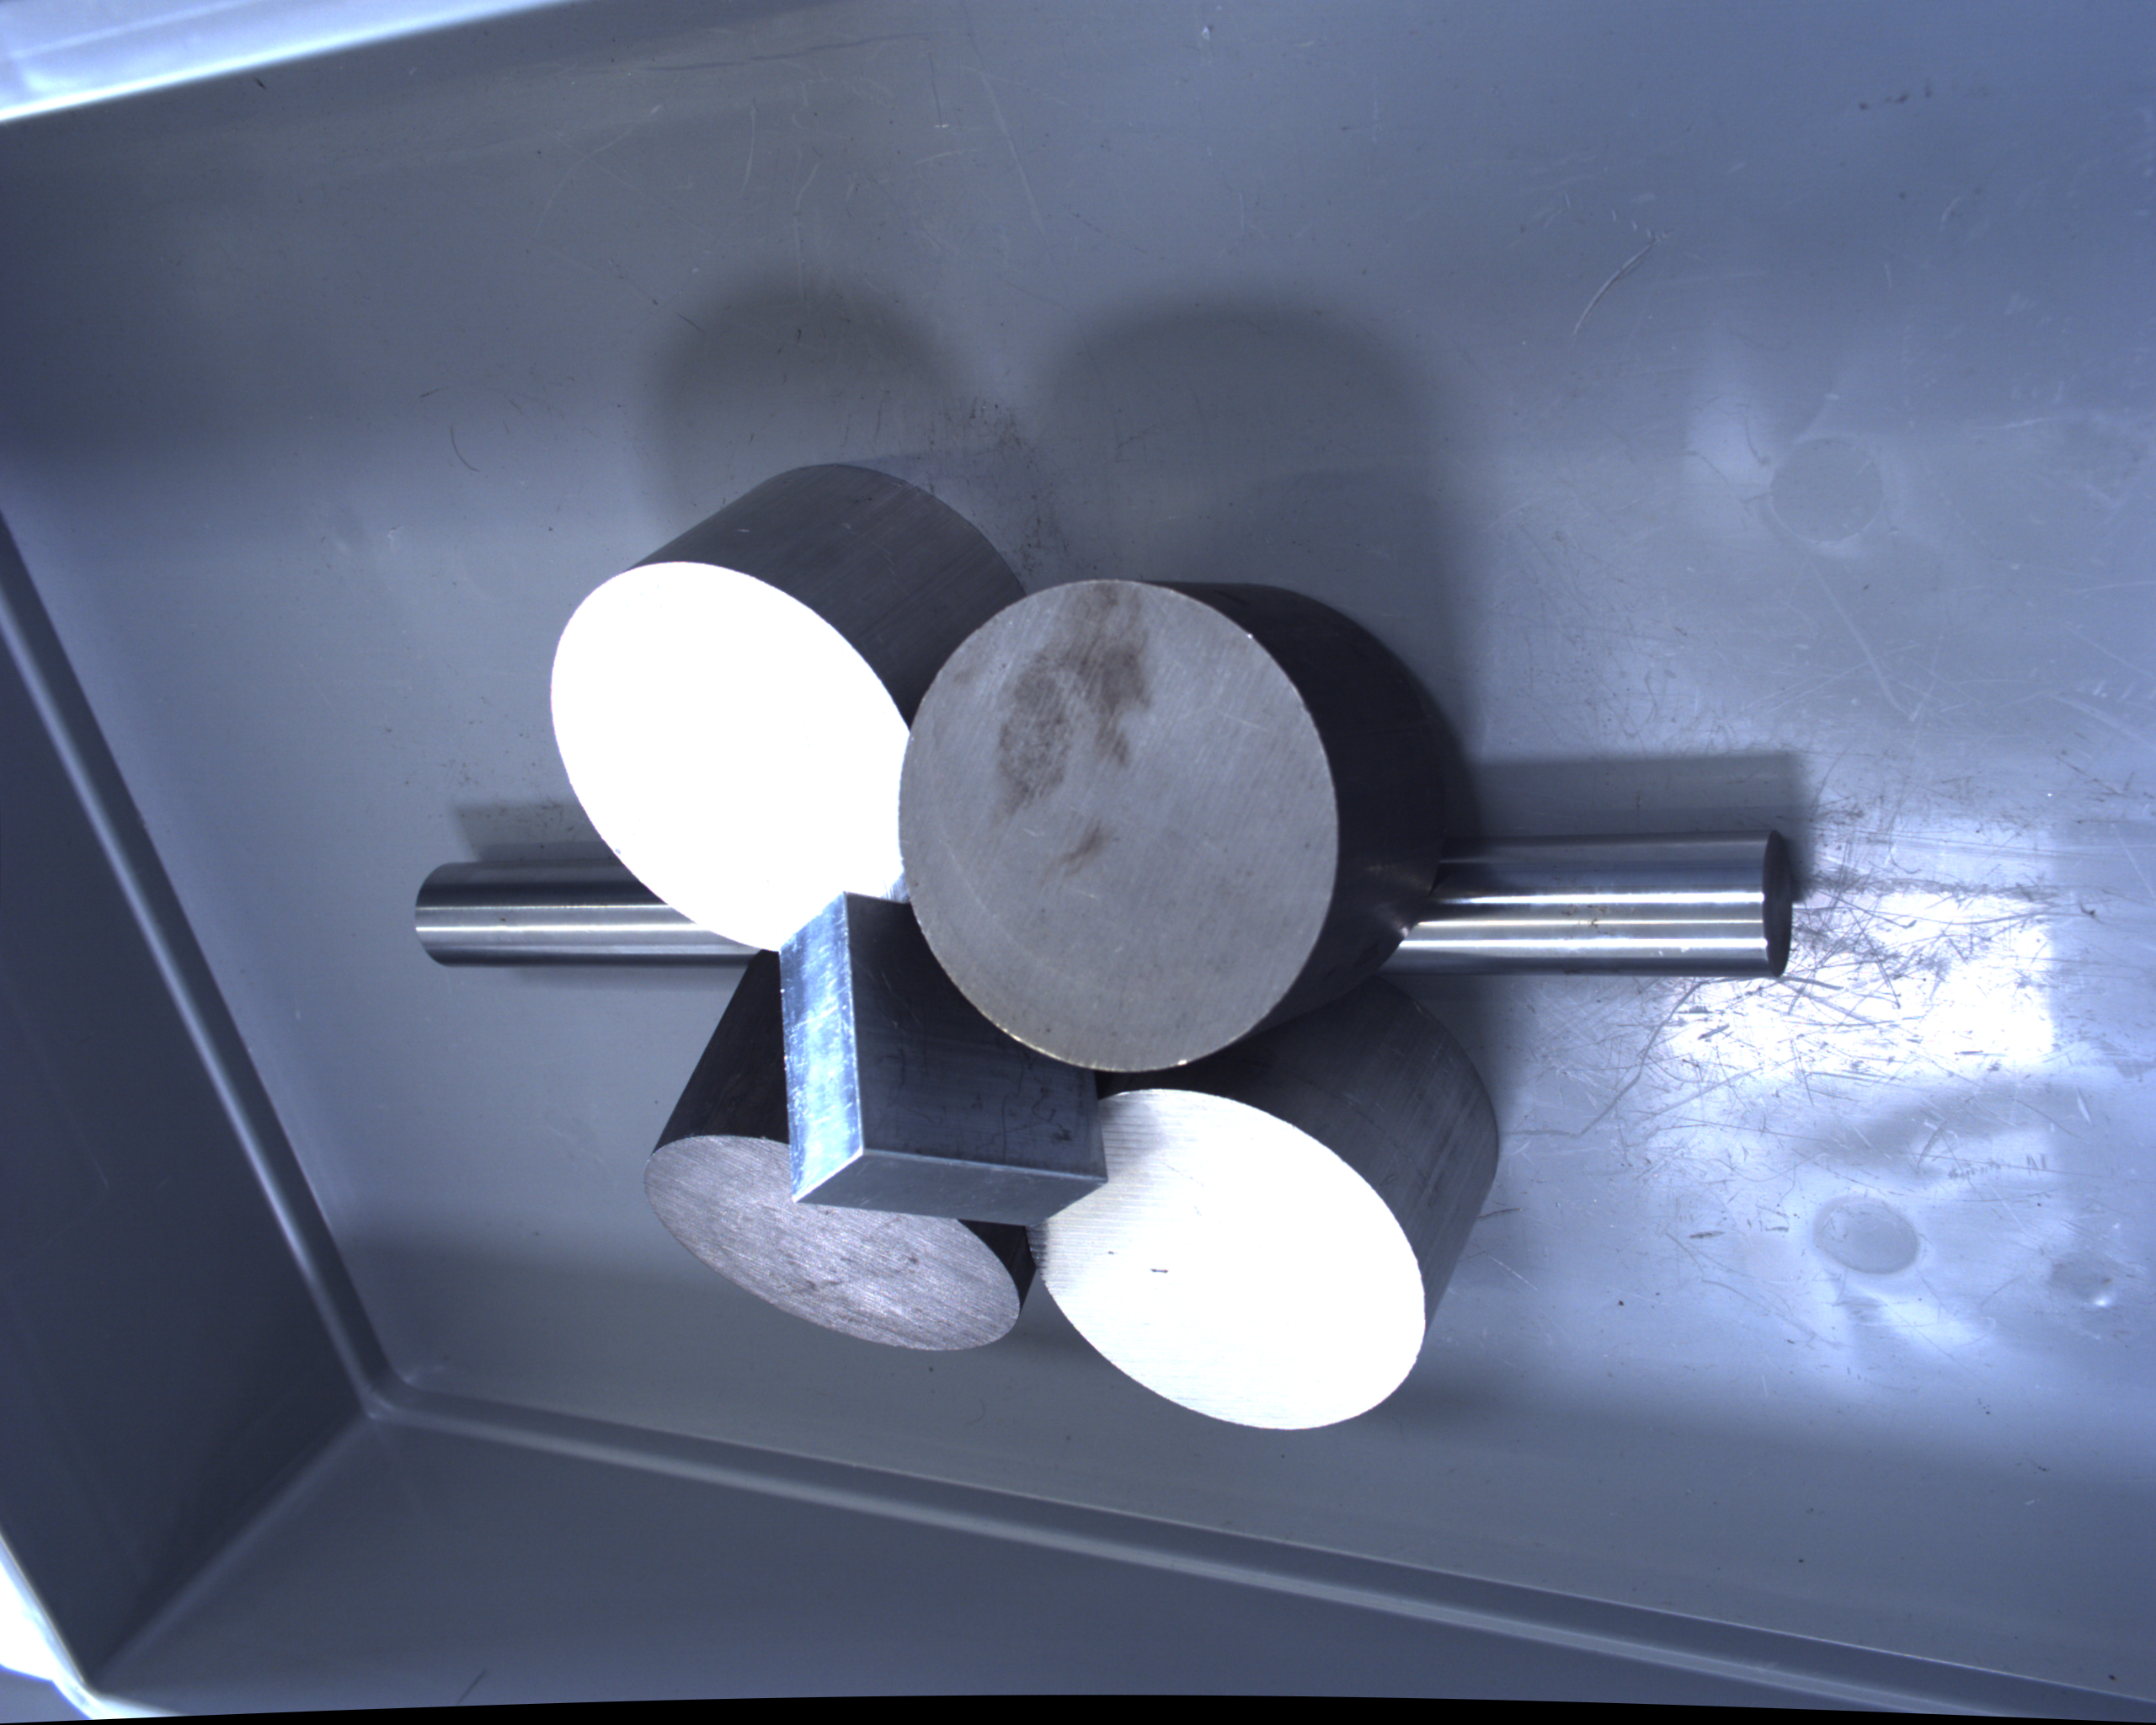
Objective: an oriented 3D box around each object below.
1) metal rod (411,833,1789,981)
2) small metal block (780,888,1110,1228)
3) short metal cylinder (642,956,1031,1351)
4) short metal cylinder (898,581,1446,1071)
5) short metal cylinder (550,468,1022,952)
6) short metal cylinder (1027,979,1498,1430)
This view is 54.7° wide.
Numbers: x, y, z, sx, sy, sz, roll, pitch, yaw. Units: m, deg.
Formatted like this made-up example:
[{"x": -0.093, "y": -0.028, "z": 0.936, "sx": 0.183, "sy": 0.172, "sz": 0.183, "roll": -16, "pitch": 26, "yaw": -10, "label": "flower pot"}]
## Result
[{"x": -0.015, "y": 0.010, "z": 0.420, "sx": 0.300, "sy": 0.025, "sz": 0.025, "roll": -1, "pitch": 118, "yaw": 28, "label": "metal rod"}, {"x": -0.025, "y": 0.036, "z": 0.380, "sx": 0.050, "sy": 0.050, "sz": 0.025, "roll": 13, "pitch": 146, "yaw": -32, "label": "small metal block"}, {"x": -0.043, "y": 0.059, "z": 0.433, "sx": 0.080, "sy": 0.050, "sz": 0.080, "roll": 14, "pitch": 143, "yaw": 11, "label": "short metal cylinder"}, {"x": 0.017, "y": -0.008, "z": 0.360, "sx": 0.080, "sy": 0.050, "sz": 0.079, "roll": 3, "pitch": 97, "yaw": 28, "label": "short metal cylinder"}, {"x": -0.052, "y": -0.029, "z": 0.399, "sx": 0.080, "sy": 0.050, "sz": 0.079, "roll": 13, "pitch": 124, "yaw": 21, "label": "short metal cylinder"}, {"x": 0.037, "y": 0.064, "z": 0.410, "sx": 0.080, "sy": 0.050, "sz": 0.079, "roll": 13, "pitch": 124, "yaw": 21, "label": "short metal cylinder"}]
